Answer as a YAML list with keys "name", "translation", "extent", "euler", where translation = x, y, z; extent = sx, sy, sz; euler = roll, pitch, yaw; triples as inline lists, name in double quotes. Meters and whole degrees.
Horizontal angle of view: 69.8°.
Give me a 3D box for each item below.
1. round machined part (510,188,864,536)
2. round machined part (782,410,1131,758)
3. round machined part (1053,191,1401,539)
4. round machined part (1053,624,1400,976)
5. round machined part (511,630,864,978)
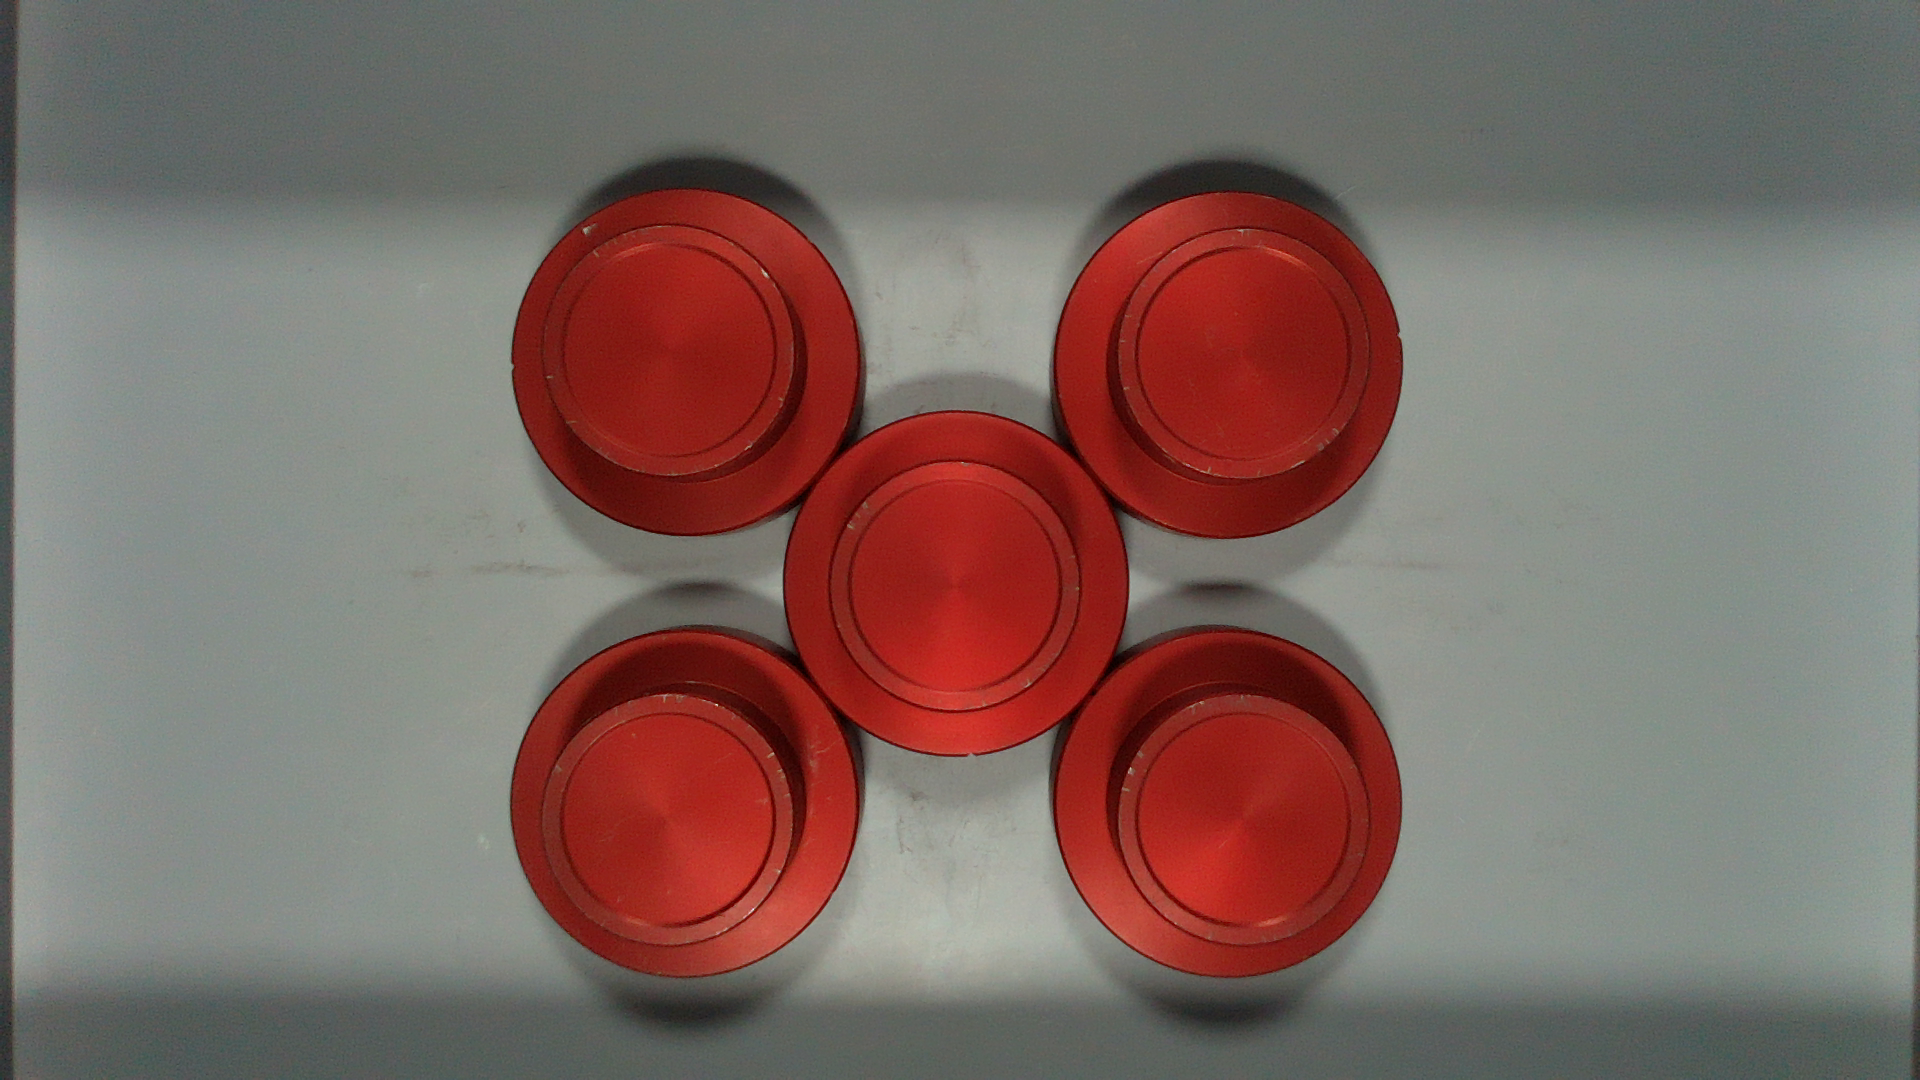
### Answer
- name: "round machined part"
  translation: [-0.077, -0.050, 0.385]
  extent: [0.098, 0.042, 0.098]
  euler: [0, 90, 0]
- name: "round machined part"
  translation: [-0.001, 0.012, 0.385]
  extent: [0.098, 0.042, 0.098]
  euler: [0, 90, 0]
- name: "round machined part"
  translation: [0.075, -0.049, 0.386]
  extent: [0.098, 0.042, 0.098]
  euler: [0, 90, 0]
- name: "round machined part"
  translation: [0.075, 0.074, 0.387]
  extent: [0.098, 0.042, 0.098]
  euler: [0, 90, 0]
- name: "round machined part"
  translation: [-0.077, 0.074, 0.386]
  extent: [0.098, 0.042, 0.098]
  euler: [0, 90, 0]
